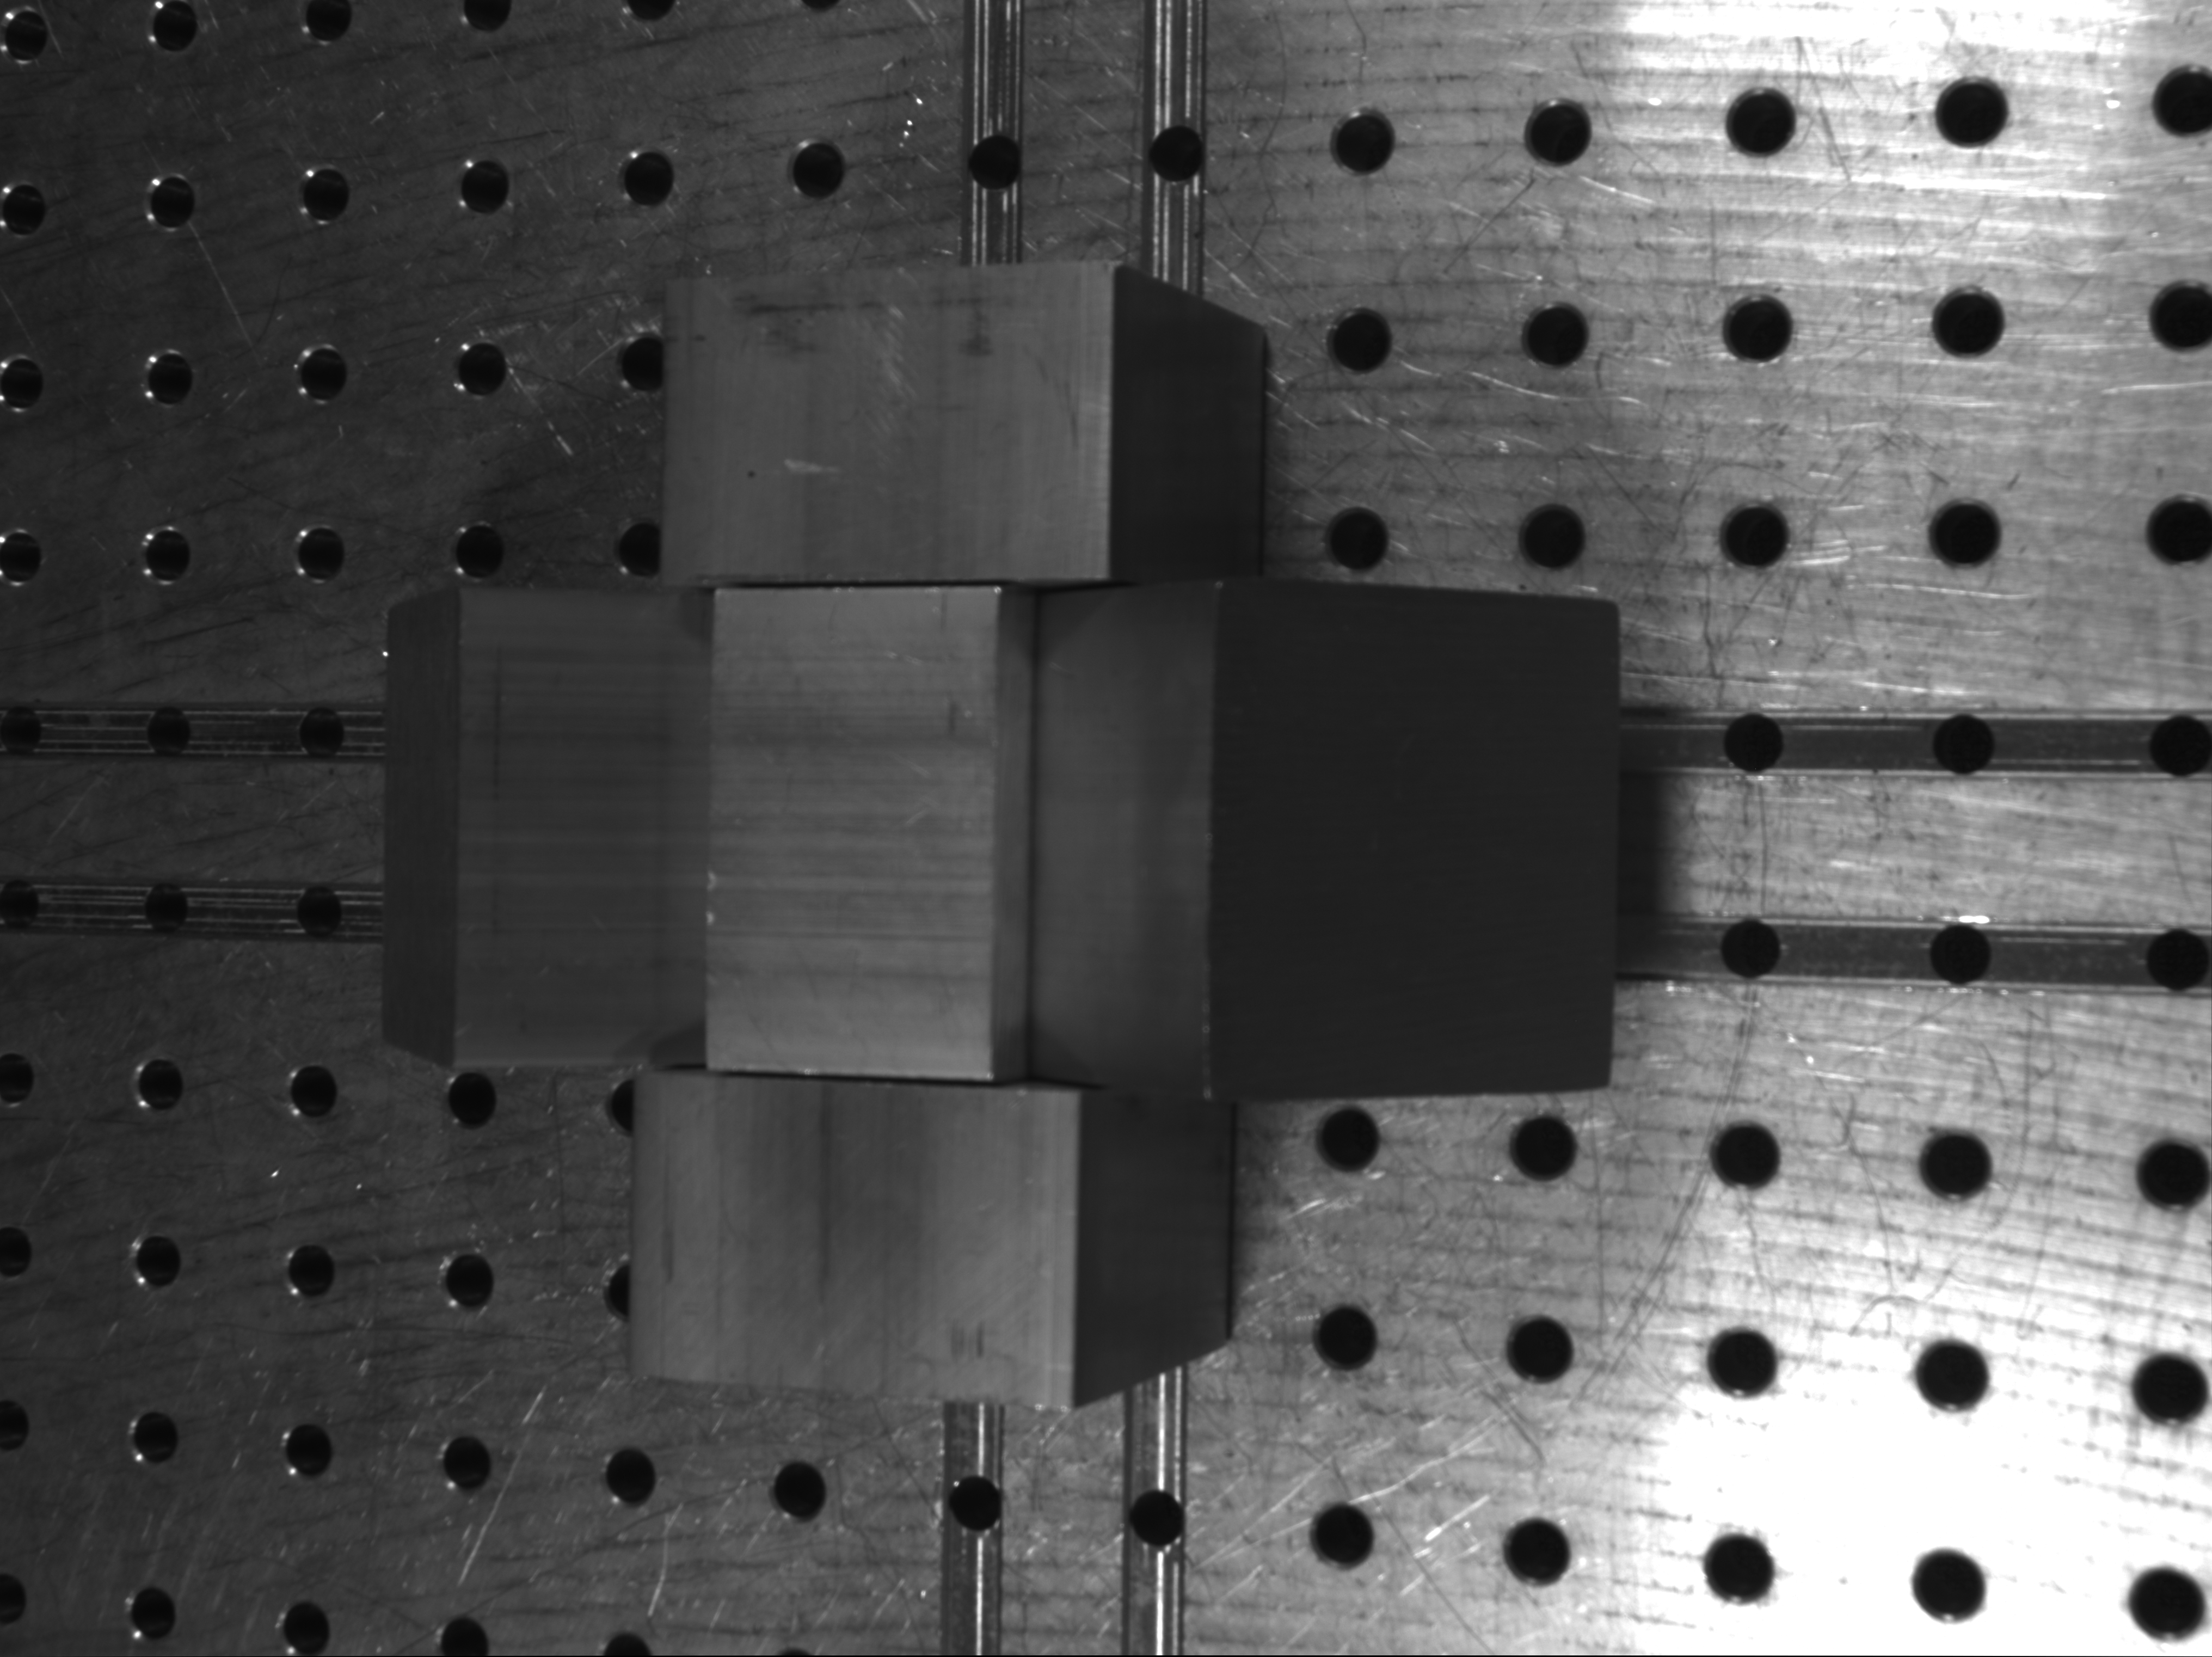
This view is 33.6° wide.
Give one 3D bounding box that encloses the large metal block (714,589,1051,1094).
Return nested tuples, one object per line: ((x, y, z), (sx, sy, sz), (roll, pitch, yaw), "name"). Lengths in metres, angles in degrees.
((-0.026, 0.002, 0.626), (0.050, 0.080, 0.080), (1, 90, 20), "large metal block")

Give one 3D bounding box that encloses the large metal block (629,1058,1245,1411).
((-0.027, 0.066, 0.626), (0.080, 0.080, 0.050), (1, 90, 20), "large metal block")

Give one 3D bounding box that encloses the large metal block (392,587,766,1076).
((-0.094, 0.000, 0.645), (0.050, 0.080, 0.080), (0, 91, -19), "large metal block")

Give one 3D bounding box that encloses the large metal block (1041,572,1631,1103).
((0.037, 0.002, 0.595), (0.050, 0.080, 0.080), (1, 89, 57), "large metal block")

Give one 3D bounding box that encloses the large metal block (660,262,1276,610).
((-0.021, -0.064, 0.624), (0.080, 0.080, 0.050), (1, 90, 20), "large metal block")
